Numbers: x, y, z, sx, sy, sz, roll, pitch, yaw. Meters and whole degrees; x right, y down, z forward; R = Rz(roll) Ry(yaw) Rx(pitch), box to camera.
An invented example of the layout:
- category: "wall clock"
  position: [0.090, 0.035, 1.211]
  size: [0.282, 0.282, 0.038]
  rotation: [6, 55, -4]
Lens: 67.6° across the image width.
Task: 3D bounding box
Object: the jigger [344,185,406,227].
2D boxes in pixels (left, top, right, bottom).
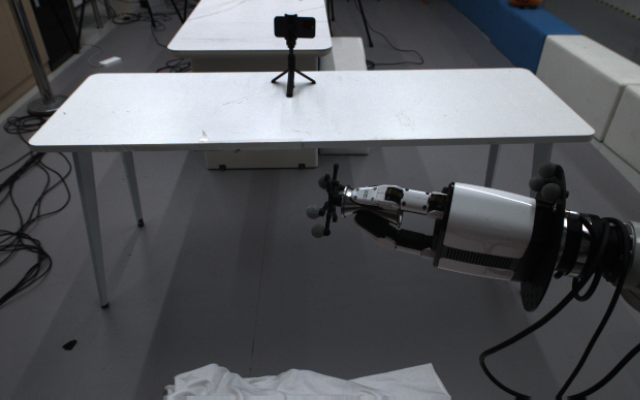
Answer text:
- category: "jigger"
  position: [0.069, 0.001, 0.564]
  size: [0.071, 0.043, 0.043]
  rotation: [7, 35, 16]
